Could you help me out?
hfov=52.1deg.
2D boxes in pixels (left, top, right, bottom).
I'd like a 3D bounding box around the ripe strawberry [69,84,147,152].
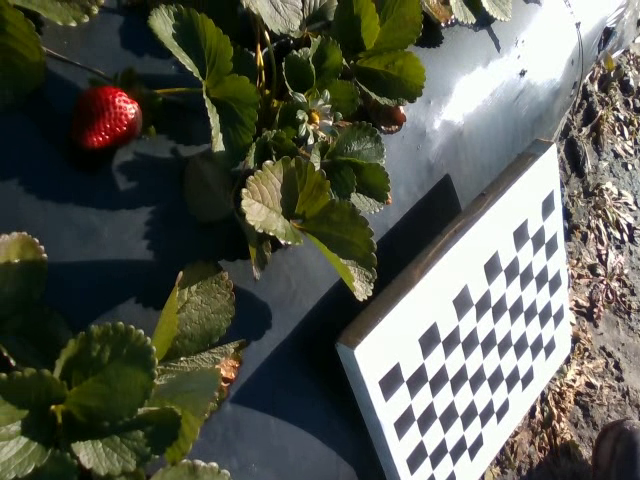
[{"bbox_3d":[-0.125,-0.067,0.373,0.044,0.042,0.056,3,46,25],"label":"ripe strawberry"}]
